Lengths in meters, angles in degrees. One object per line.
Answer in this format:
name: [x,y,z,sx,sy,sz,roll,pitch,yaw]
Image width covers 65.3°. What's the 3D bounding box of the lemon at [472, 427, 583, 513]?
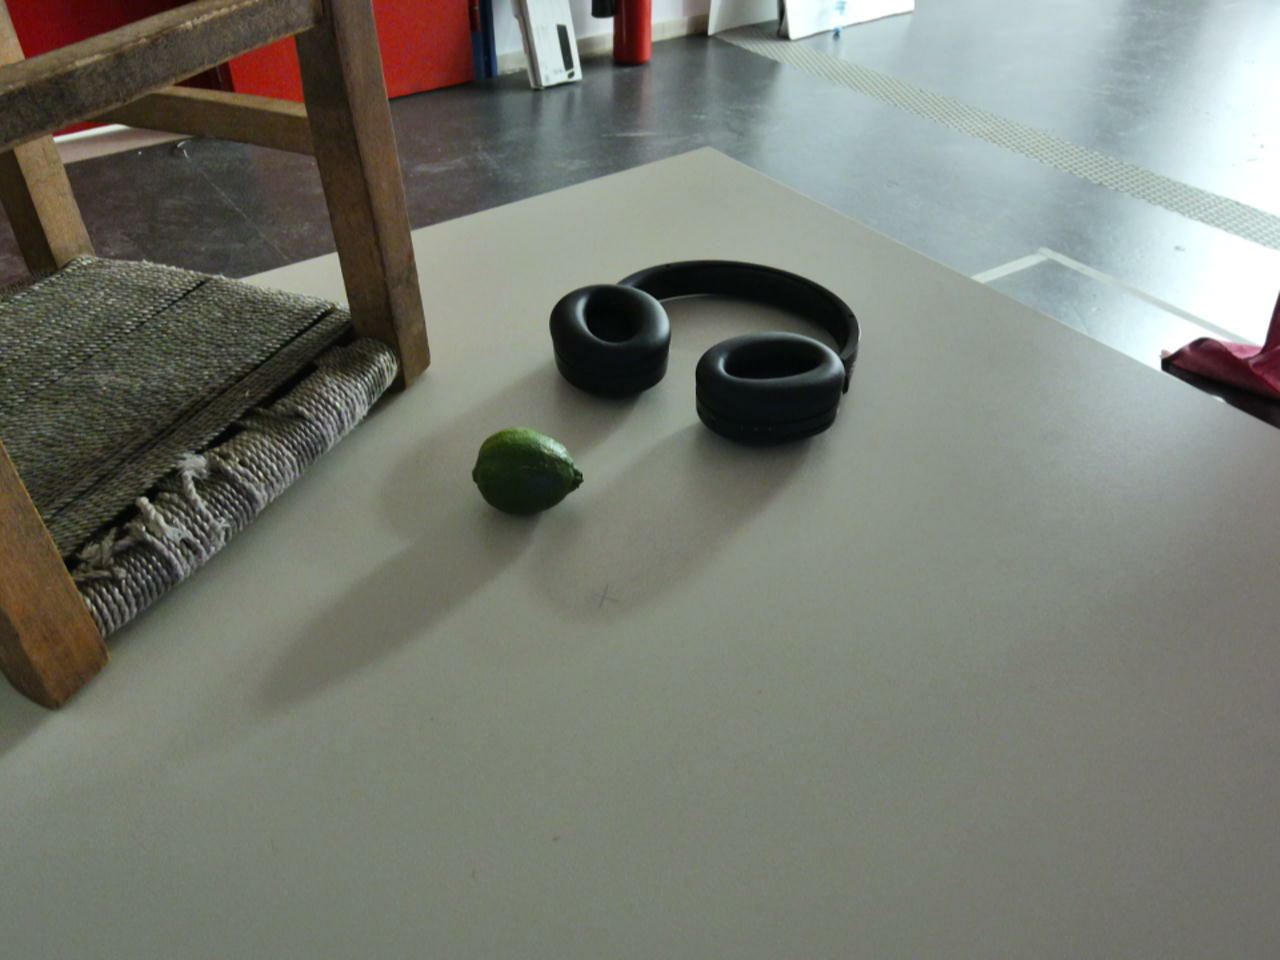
lemon: [-0.069,-0.006,0.585,0.057,0.051,0.054,-27,46,-31]
